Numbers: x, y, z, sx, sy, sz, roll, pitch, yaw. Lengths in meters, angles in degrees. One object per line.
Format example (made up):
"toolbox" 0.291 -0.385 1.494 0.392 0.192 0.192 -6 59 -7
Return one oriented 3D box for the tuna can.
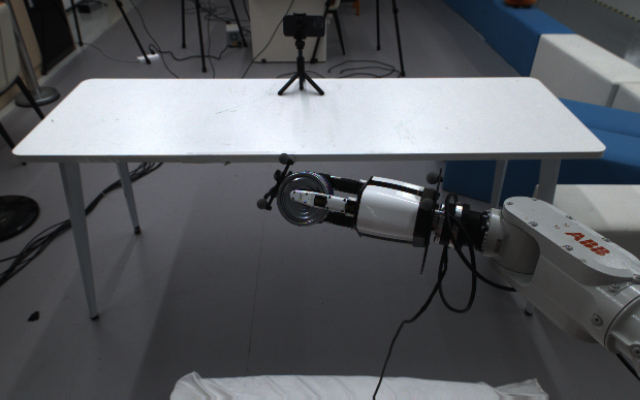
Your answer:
"tuna can" -0.020 0.000 0.748 0.085 0.085 0.034 8 5 9
